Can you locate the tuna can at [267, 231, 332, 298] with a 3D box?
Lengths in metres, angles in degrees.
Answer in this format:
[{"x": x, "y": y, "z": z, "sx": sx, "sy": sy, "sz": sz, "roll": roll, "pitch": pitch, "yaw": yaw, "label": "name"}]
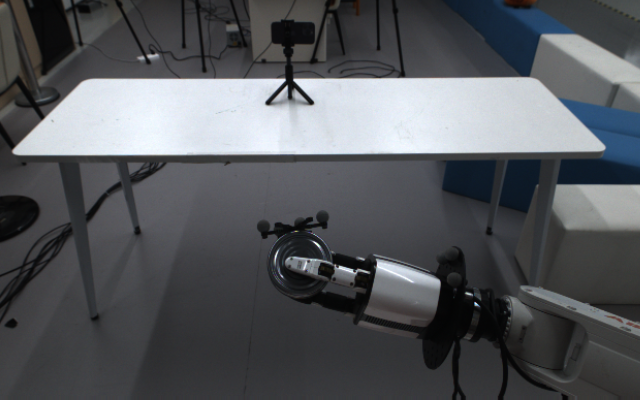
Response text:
[{"x": -0.022, "y": 0.089, "z": 0.625, "sx": 0.085, "sy": 0.034, "sz": 0.085, "roll": 0, "pitch": 72, "yaw": -1, "label": "tuna can"}]
